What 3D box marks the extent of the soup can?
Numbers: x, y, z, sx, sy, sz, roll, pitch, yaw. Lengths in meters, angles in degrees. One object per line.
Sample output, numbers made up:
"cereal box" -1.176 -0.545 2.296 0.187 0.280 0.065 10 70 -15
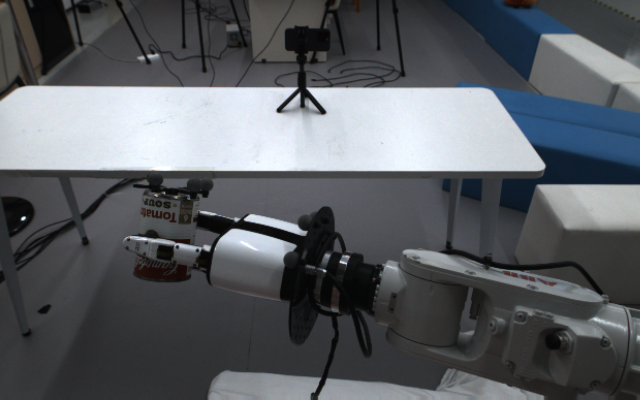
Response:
"soup can" -0.184 0.044 0.587 0.067 0.101 0.067 7 3 0
